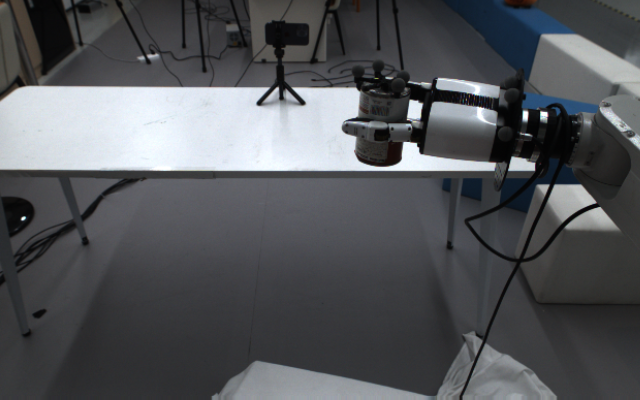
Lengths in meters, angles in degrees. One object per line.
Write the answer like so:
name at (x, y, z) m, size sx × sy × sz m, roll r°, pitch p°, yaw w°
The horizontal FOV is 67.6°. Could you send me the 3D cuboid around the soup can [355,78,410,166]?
soup can at (0.084, -0.107, 0.663) m, size 0.067 × 0.101 × 0.067 m, roll 2°, pitch 32°, yaw -1°
